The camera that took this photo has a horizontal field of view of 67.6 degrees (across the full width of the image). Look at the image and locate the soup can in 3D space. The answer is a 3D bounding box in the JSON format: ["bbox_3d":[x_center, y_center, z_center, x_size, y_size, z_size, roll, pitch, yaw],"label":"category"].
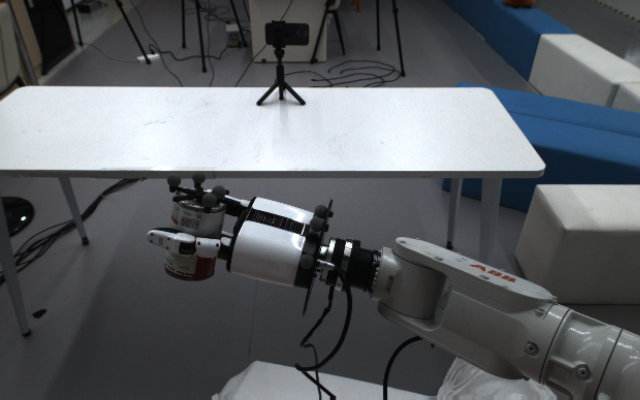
[{"bbox_3d":[-0.163,0.047,0.634,0.067,0.101,0.067,13,18,-4],"label":"soup can"}]
